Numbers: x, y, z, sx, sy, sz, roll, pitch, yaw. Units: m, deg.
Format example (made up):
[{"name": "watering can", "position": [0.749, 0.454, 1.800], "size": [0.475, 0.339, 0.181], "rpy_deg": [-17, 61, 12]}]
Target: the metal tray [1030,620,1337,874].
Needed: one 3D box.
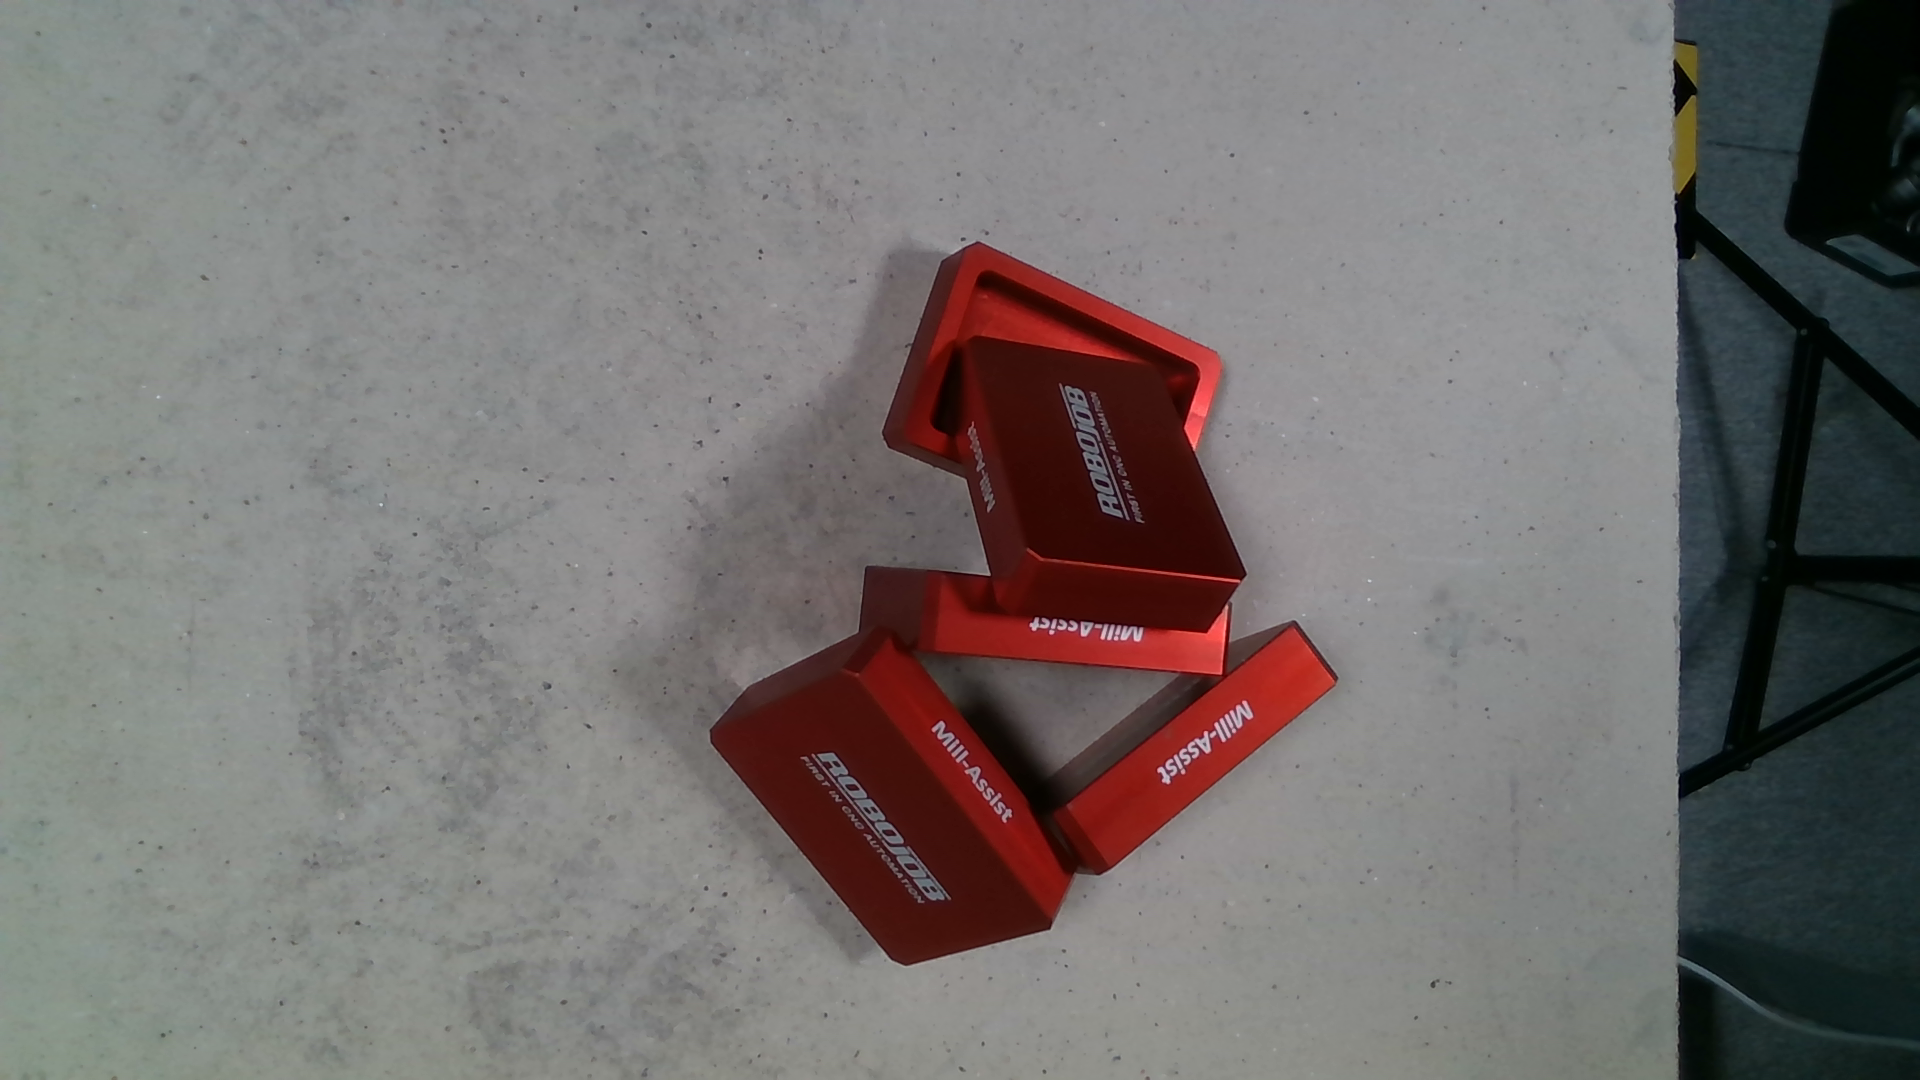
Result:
[{"name": "metal tray", "position": [0.086, 0.088, 0.581], "size": [0.130, 0.090, 0.030], "rpy_deg": [-35, 87, -17]}]

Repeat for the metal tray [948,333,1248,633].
[{"name": "metal tray", "position": [0.050, -0.025, 0.544], "size": [0.090, 0.030, 0.130], "rpy_deg": [7, 43, -20]}]

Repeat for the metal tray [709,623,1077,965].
[{"name": "metal tray", "position": [-0.027, 0.103, 0.542], "size": [0.130, 0.090, 0.030], "rpy_deg": [53, 39, -12]}]

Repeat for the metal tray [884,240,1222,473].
[{"name": "metal tray", "position": [0.041, -0.062, 0.599], "size": [0.130, 0.030, 0.090], "rpy_deg": [21, 83, -19]}]

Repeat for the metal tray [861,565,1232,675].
[{"name": "metal tray", "position": [0.033, 0.032, 0.564], "size": [0.130, 0.090, 0.030], "rpy_deg": [7, 88, -20]}]
